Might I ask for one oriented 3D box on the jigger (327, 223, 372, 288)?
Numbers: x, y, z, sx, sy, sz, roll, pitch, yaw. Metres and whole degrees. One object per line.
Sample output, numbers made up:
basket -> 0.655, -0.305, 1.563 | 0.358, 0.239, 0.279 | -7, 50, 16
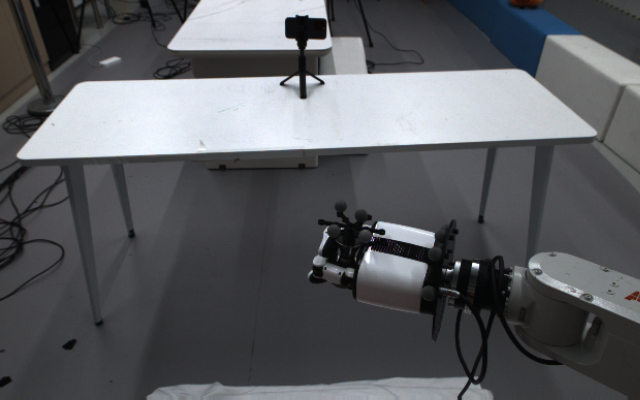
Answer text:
jigger -> 0.038, 0.081, 0.661 | 0.043, 0.071, 0.043 | 6, 26, -3
